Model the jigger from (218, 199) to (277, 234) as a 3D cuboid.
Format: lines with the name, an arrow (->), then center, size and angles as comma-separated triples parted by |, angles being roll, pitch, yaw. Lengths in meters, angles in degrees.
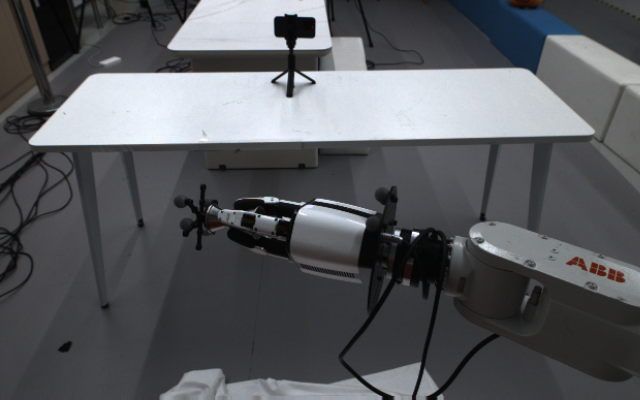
jigger -> -0.103, 0.022, 0.638 | 0.071, 0.043, 0.043 | 3, 34, 15
